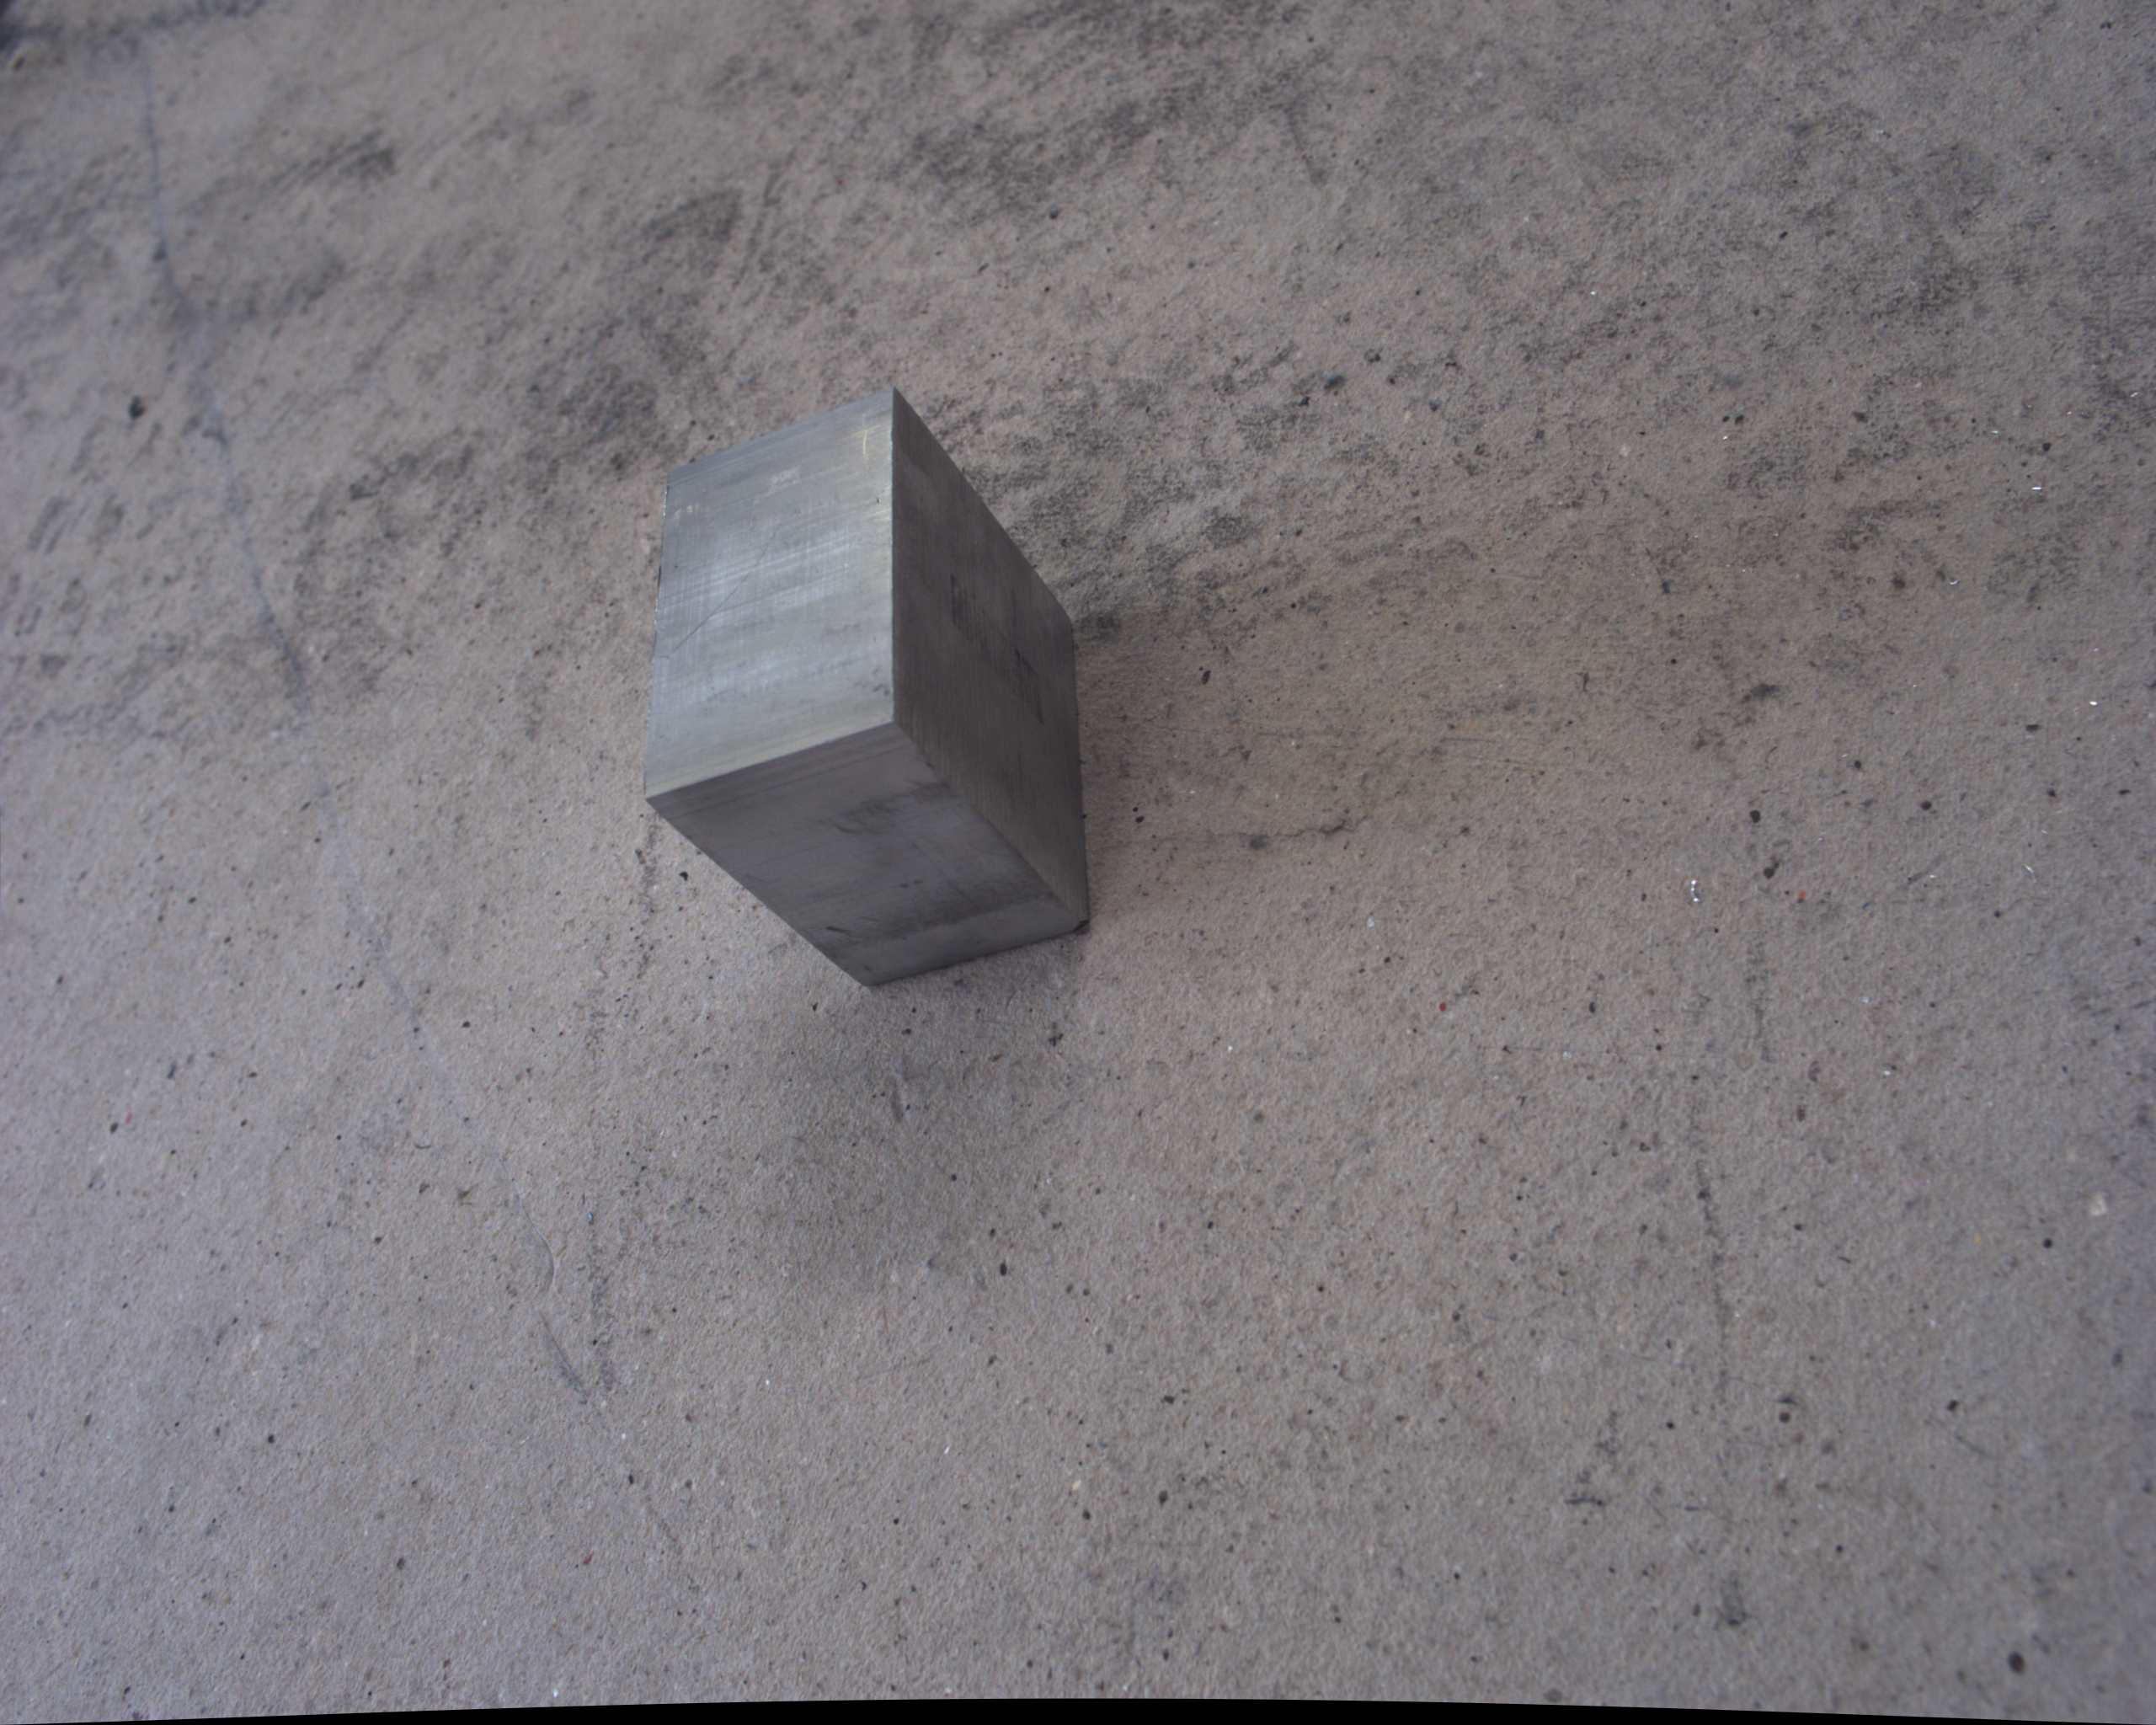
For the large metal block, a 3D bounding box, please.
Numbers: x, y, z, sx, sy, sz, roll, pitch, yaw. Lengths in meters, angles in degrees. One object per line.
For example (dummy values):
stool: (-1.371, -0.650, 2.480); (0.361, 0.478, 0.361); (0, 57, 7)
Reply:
large metal block: (-0.040, -0.032, 0.411); (0.050, 0.080, 0.080); (-16, 55, 19)
